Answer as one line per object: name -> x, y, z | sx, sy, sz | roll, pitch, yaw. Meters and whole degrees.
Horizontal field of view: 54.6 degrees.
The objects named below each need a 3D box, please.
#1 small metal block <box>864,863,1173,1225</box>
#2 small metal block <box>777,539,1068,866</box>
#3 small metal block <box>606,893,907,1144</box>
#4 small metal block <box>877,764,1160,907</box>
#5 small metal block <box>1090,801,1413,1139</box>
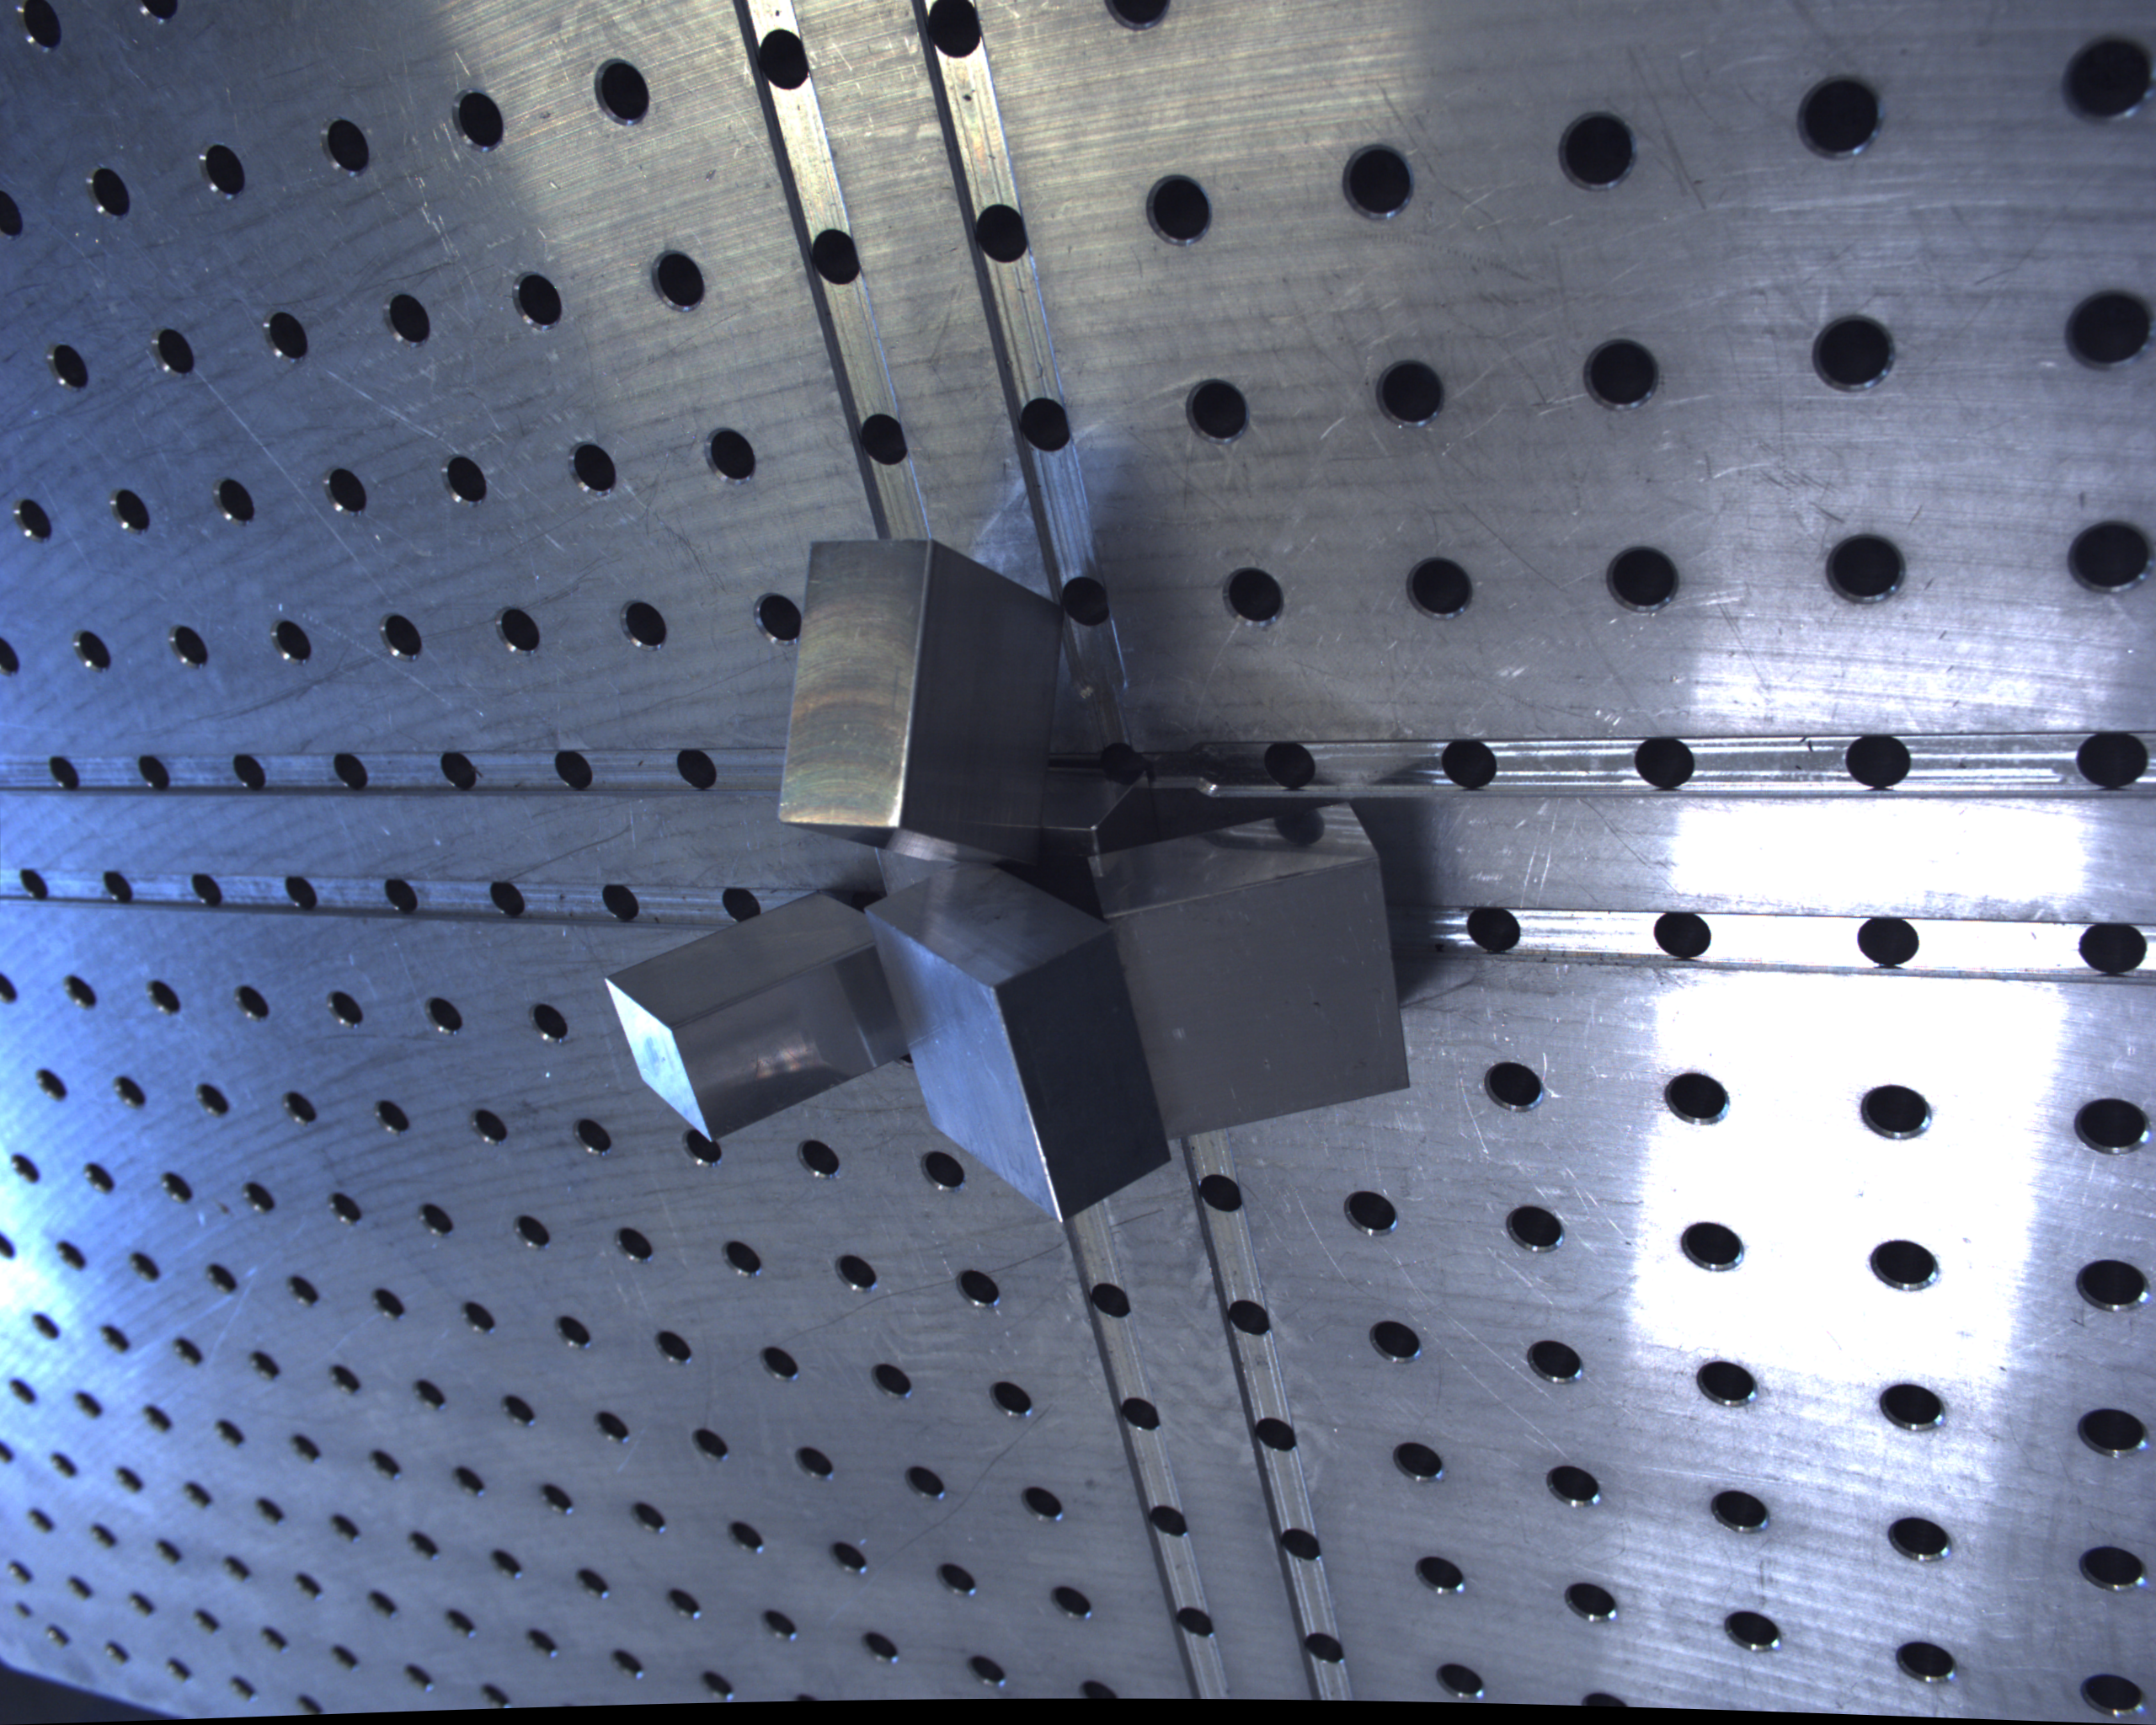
small metal block -> -0.011, 0.032, 0.390 | 0.050, 0.025, 0.050 | 26, 137, 55
small metal block -> -0.027, -0.028, 0.379 | 0.025, 0.050, 0.050 | 3, 84, 27
small metal block -> -0.064, 0.031, 0.435 | 0.050, 0.050, 0.025 | 19, 129, 61
small metal block -> -0.009, 0.008, 0.422 | 0.050, 0.025, 0.050 | 3, 120, 27
small metal block -> 0.033, 0.021, 0.393 | 0.050, 0.025, 0.050 | -12, 116, -1
